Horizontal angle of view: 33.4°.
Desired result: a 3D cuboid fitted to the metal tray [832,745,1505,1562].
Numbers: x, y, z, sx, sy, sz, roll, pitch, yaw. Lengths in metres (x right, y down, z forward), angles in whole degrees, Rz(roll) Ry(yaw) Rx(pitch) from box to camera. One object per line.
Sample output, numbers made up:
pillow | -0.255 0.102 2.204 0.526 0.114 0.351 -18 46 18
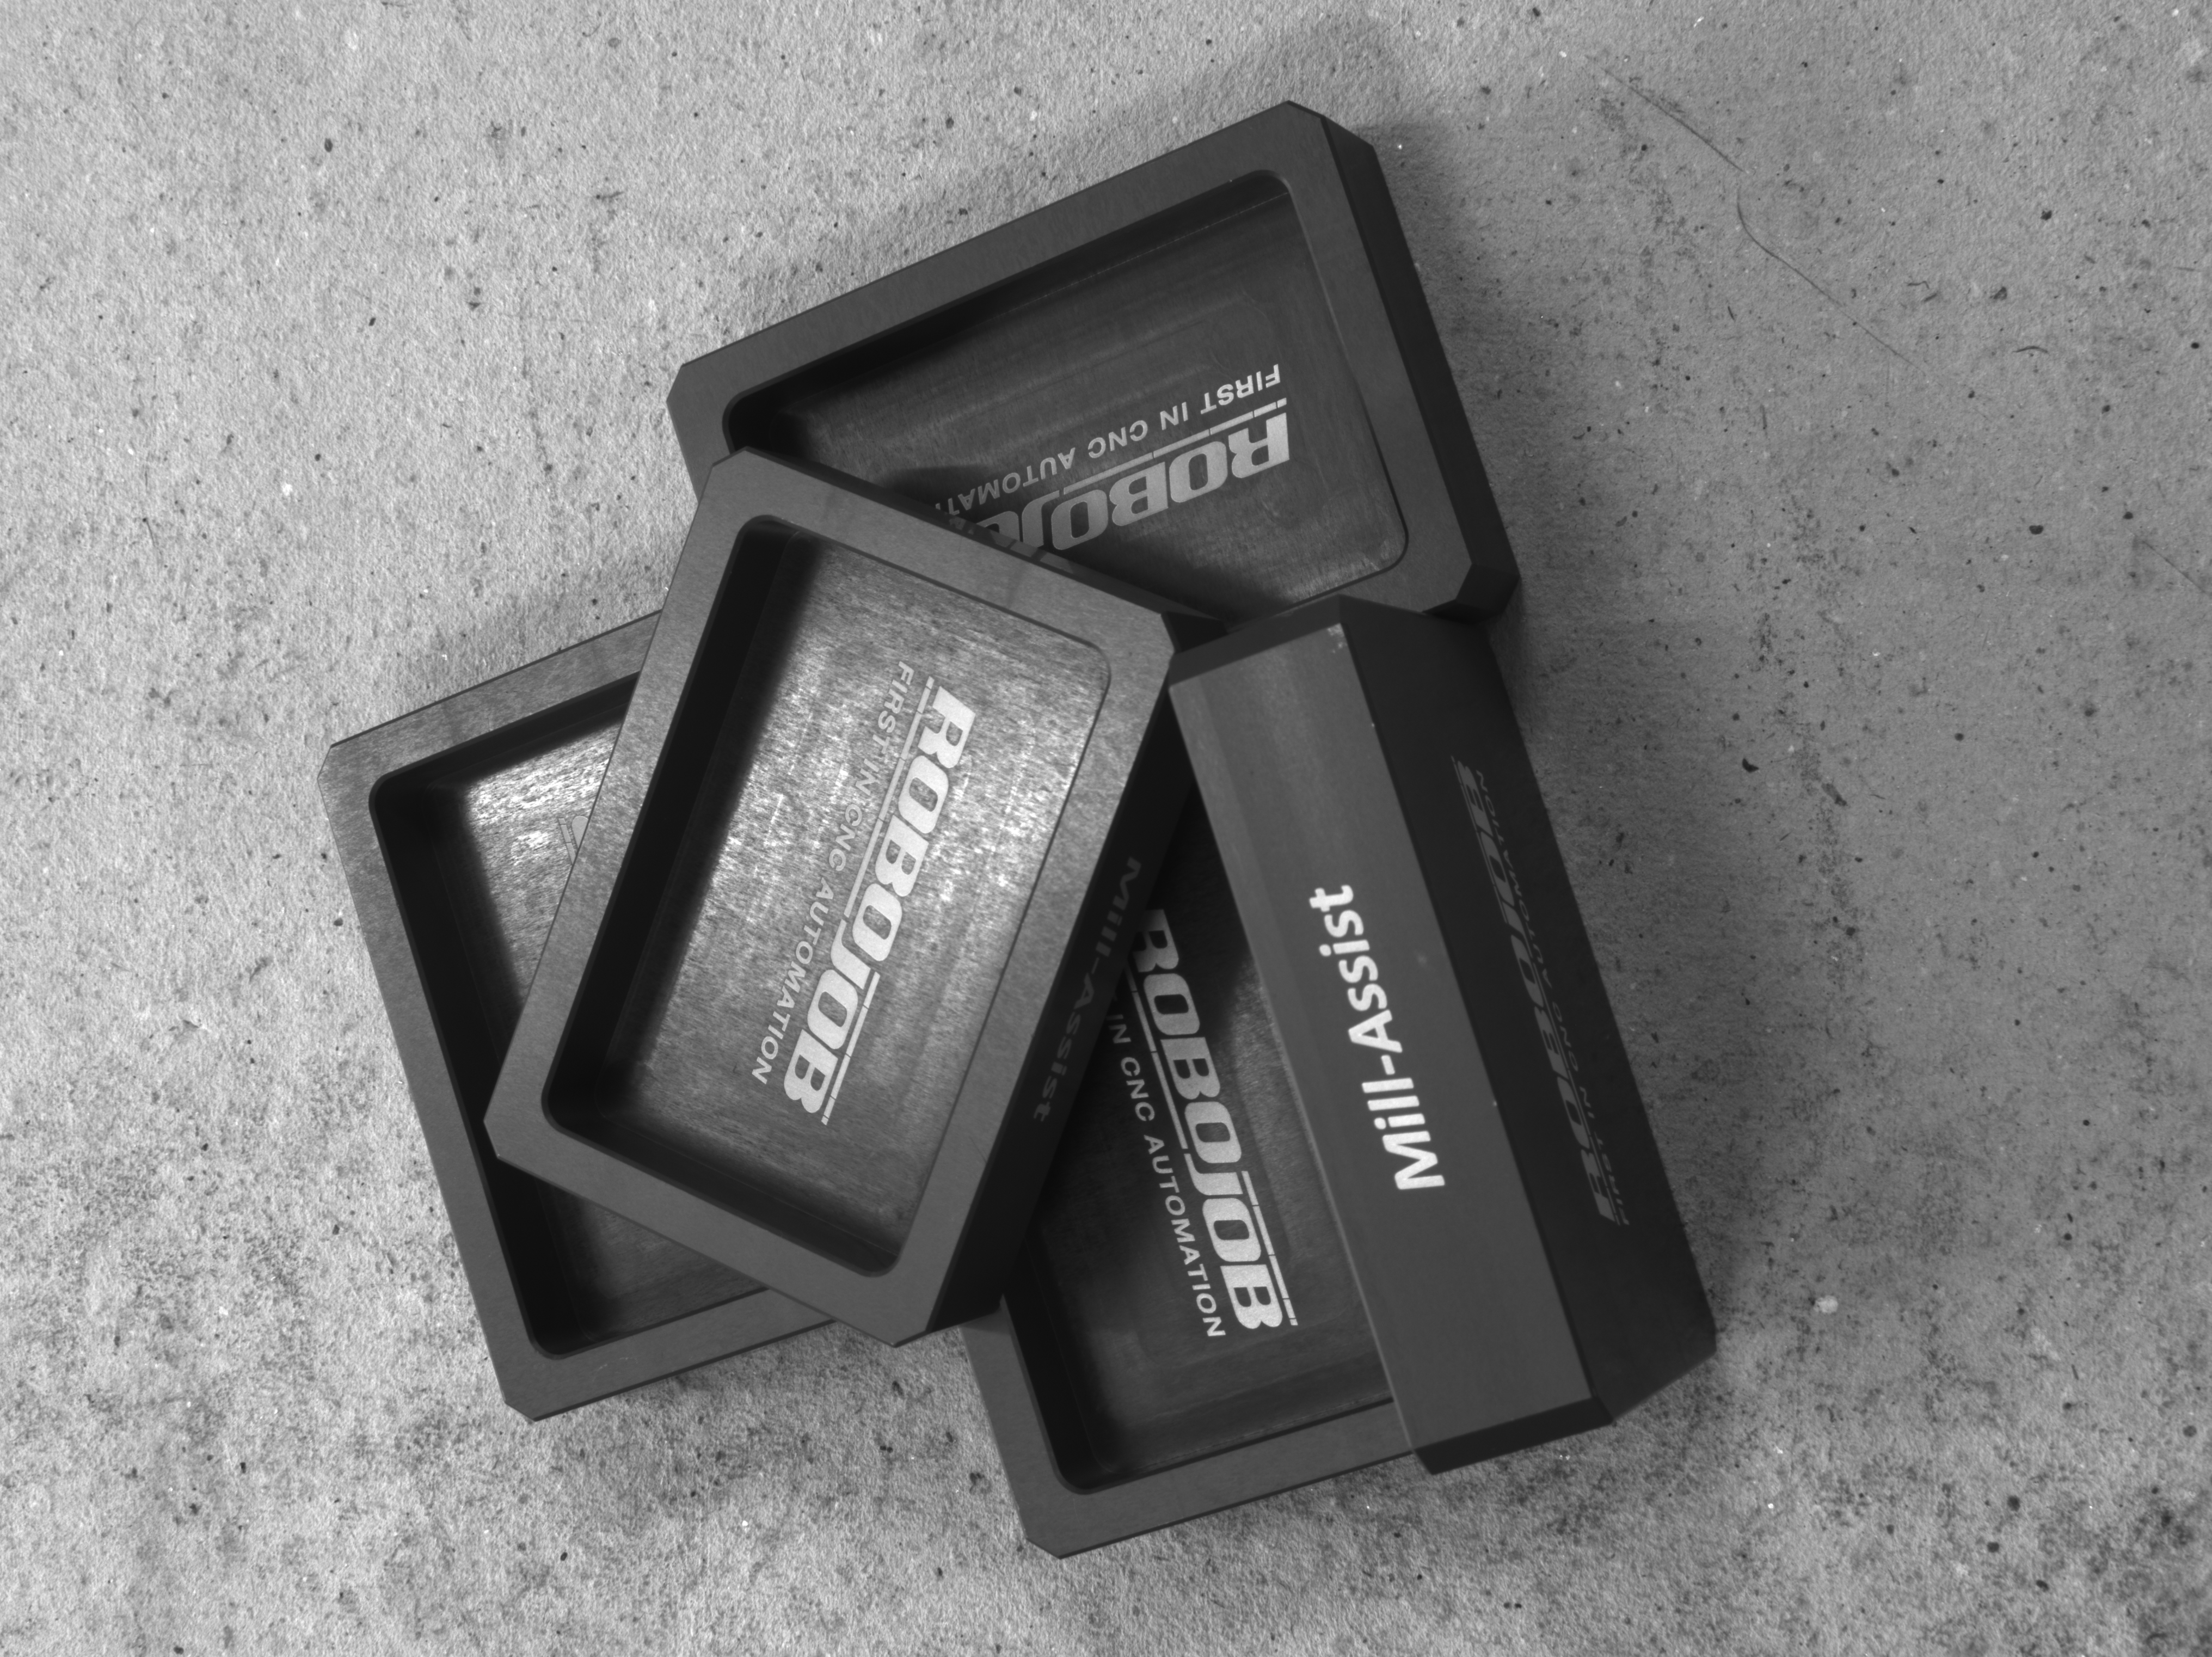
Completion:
metal tray | 0.012 0.051 0.638 0.090 0.030 0.130 -21 84 20

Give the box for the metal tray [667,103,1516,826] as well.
metal tray | -0.004 -0.060 0.647 0.130 0.030 0.090 -20 83 20

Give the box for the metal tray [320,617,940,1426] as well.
metal tray | -0.083 0.034 0.673 0.090 0.030 0.130 -20 83 19

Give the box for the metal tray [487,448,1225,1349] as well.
metal tray | -0.043 0.011 0.629 0.090 0.030 0.130 23 98 19

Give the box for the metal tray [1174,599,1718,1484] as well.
metal tray | 0.056 0.032 0.589 0.030 0.090 0.130 -19 84 19
